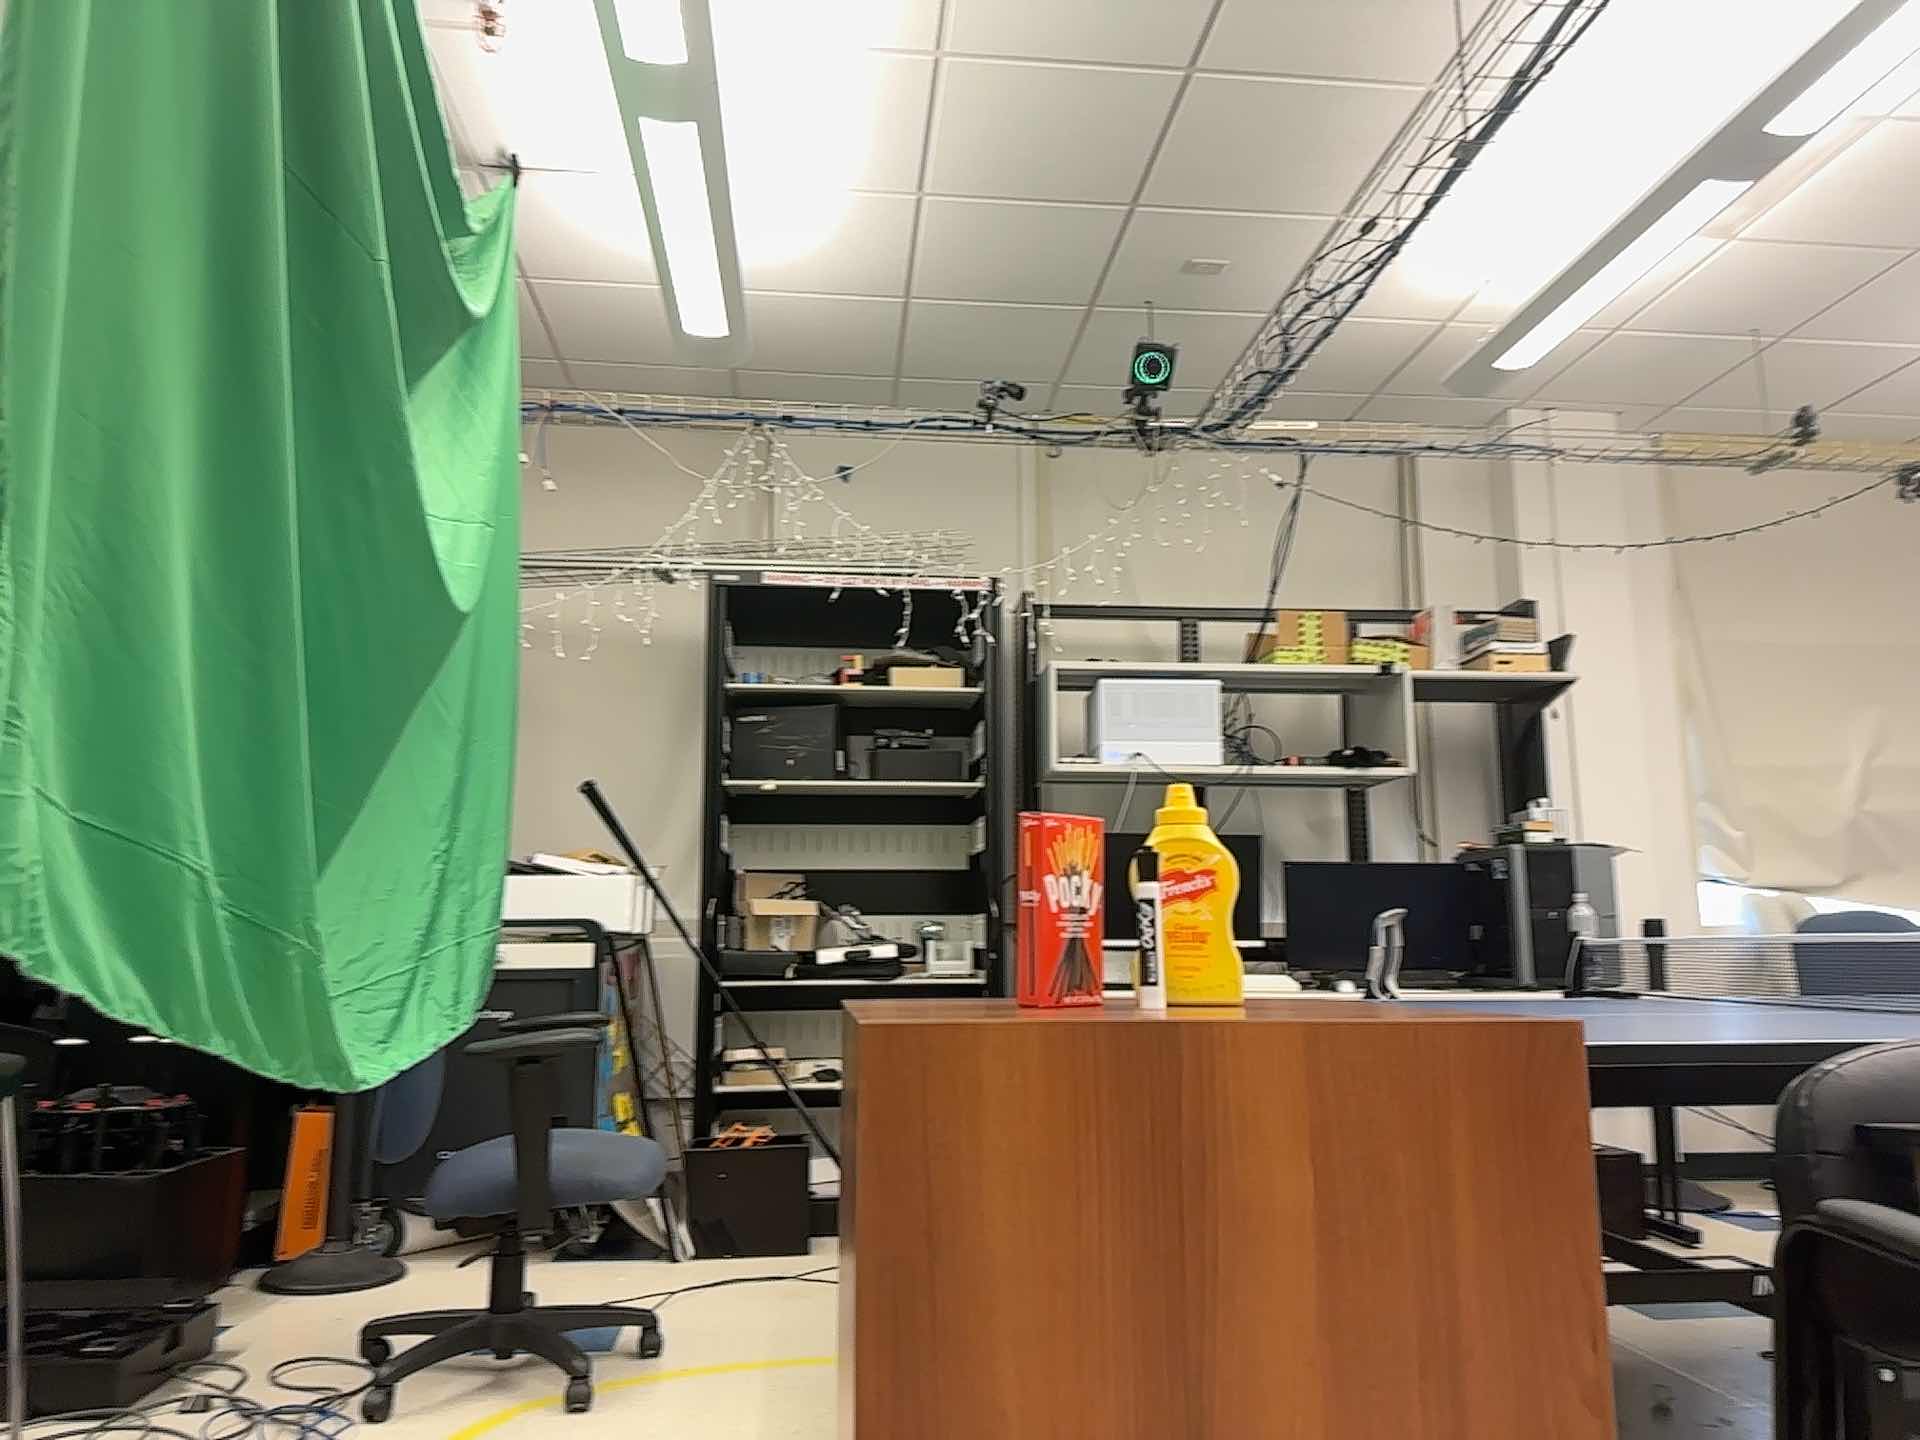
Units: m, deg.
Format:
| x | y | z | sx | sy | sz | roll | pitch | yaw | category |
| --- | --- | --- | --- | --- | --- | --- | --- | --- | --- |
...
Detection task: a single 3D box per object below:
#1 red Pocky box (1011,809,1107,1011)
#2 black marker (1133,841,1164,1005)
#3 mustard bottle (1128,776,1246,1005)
| x | y | z | sx | sy | sz | roll | pitch | yaw | category |
| --- | --- | --- | --- | --- | --- | --- | --- | --- | --- |
| 0.078 | 0.148 | 1.058 | 0.083 | 0.155 | 0.028 | 6 | -9 | -41 | red Pocky box |
| 0.141 | 0.152 | 1.011 | 0.020 | 0.121 | 0.020 | 0 | -12 | 0 | black marker |
| 0.182 | 0.137 | 1.097 | 0.092 | 0.184 | 0.054 | -3 | -8 | 14 | mustard bottle |
